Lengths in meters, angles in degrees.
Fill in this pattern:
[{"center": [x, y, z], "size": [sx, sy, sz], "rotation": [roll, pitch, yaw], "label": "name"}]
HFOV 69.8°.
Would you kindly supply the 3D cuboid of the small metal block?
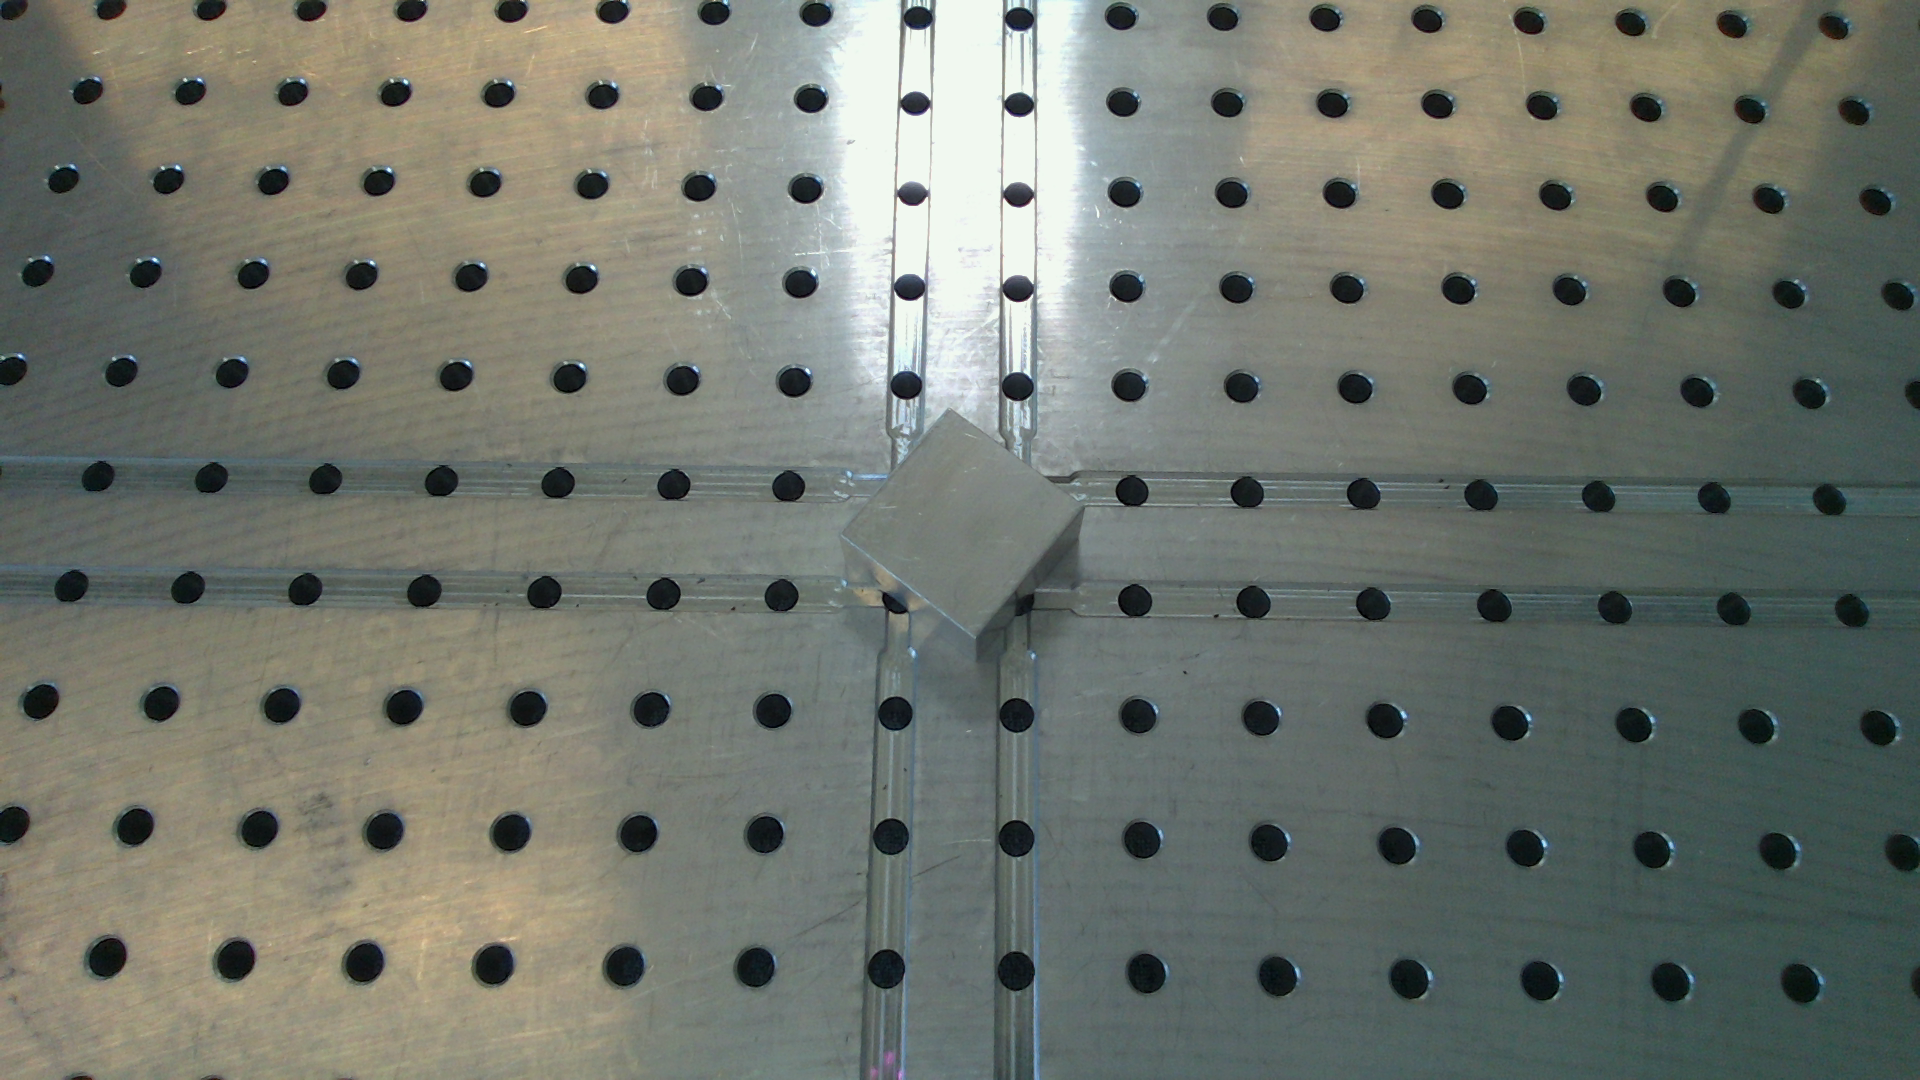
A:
[{"center": [0.000, -0.002, 0.398], "size": [0.050, 0.025, 0.050], "rotation": [37, 74, 12], "label": "small metal block"}]
